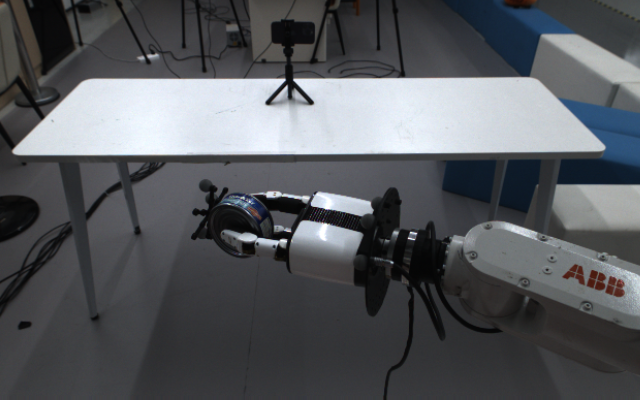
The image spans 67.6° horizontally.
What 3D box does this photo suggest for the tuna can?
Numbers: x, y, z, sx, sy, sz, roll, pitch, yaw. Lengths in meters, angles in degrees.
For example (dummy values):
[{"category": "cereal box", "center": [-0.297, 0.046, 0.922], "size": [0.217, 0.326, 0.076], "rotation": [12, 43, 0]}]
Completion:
[{"category": "tuna can", "center": [-0.104, 0.037, 0.649], "size": [0.085, 0.085, 0.034], "rotation": [14, 31, 16]}]
